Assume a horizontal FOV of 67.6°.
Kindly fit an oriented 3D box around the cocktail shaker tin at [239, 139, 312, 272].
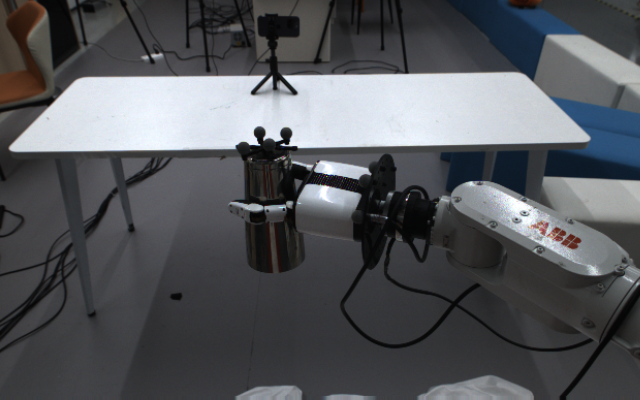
[{"bbox_3d":[-0.070,0.011,0.714,0.093,0.170,0.093,-2,26,1],"label":"cocktail shaker tin"}]
